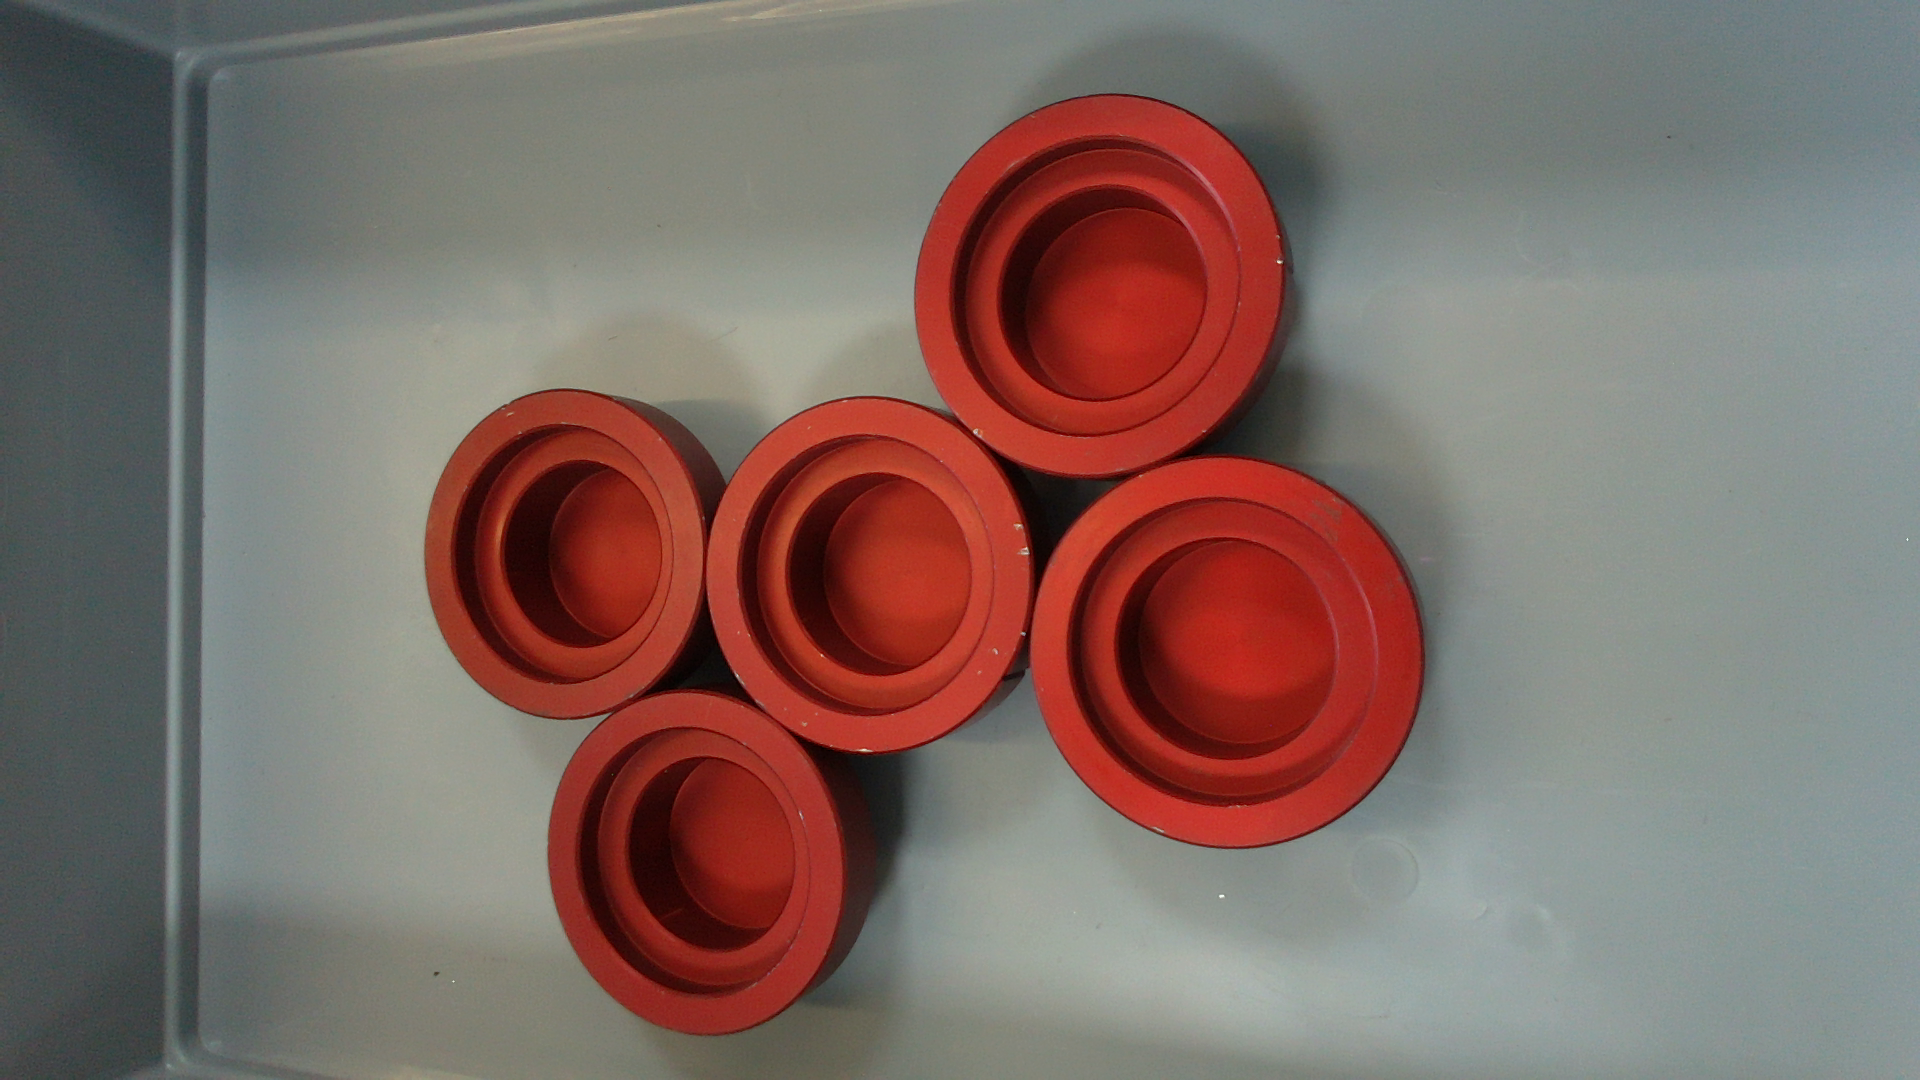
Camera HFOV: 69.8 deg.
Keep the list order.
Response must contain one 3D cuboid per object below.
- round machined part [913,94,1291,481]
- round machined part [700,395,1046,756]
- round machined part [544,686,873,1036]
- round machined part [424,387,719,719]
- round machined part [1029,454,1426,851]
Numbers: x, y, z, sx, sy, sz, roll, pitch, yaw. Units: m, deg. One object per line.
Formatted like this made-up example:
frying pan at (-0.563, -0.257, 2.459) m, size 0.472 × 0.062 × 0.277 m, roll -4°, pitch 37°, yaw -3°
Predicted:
round machined part at (0.040, -0.065, 0.370) m, size 0.098 × 0.042 × 0.098 m, roll 0°, pitch 90°, yaw 20°
round machined part at (-0.021, 0.010, 0.391) m, size 0.098 × 0.042 × 0.098 m, roll 0°, pitch 90°, yaw 20°
round machined part at (-0.070, 0.092, 0.410) m, size 0.098 × 0.042 × 0.098 m, roll 0°, pitch 90°, yaw 20°
round machined part at (-0.112, 0.004, 0.425) m, size 0.098 × 0.042 × 0.098 m, roll 0°, pitch 90°, yaw 20°
round machined part at (0.071, 0.028, 0.359) m, size 0.098 × 0.042 × 0.098 m, roll 0°, pitch 90°, yaw 20°
